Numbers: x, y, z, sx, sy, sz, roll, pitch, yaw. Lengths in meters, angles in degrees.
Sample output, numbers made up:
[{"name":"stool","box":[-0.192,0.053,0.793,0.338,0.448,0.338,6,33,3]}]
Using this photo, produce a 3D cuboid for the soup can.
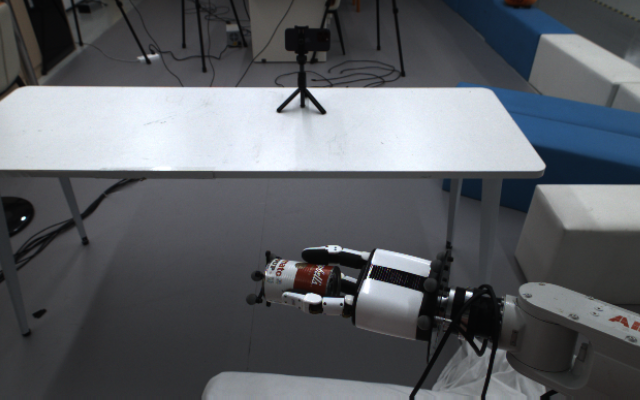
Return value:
[{"name":"soup can","box":[-0.024,0.126,0.716,0.101,0.067,0.067,5,34,18]}]
